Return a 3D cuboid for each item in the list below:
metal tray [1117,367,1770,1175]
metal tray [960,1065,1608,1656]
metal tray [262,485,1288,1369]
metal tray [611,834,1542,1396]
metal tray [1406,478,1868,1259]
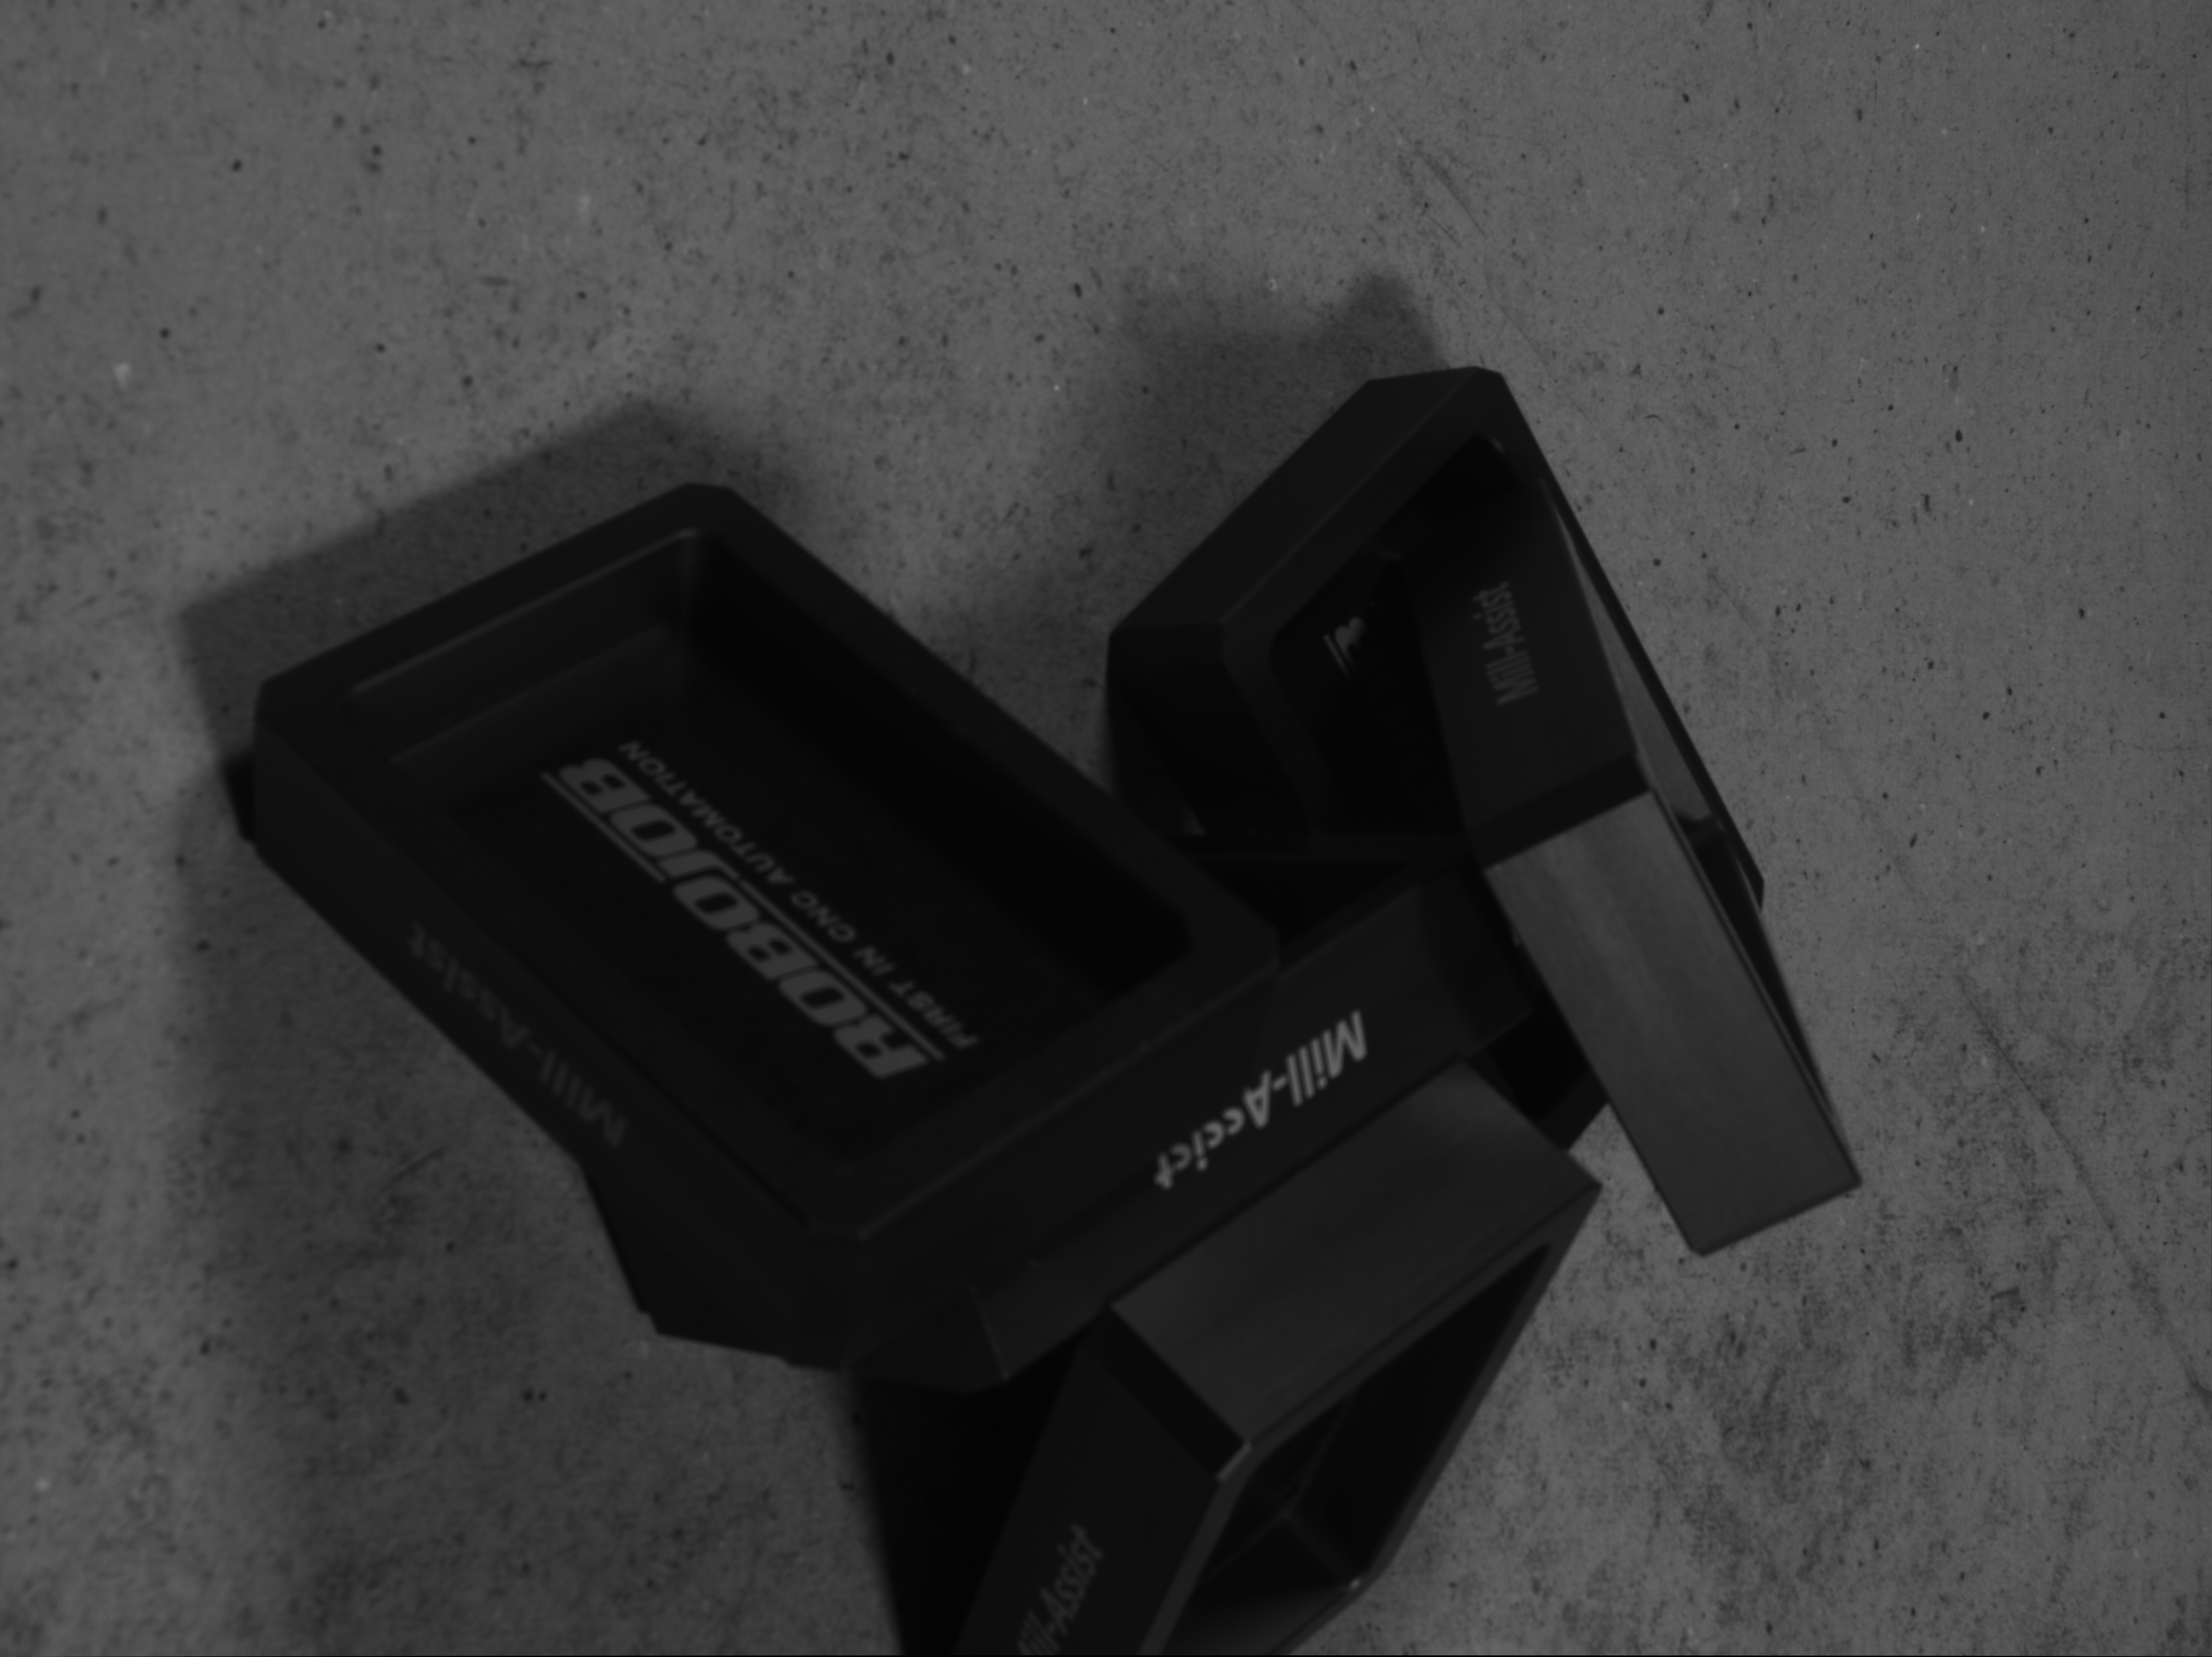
[{"bbox_3d":[0.067,-0.009,0.690,0.090,0.030,0.130,-46,117,-30],"label":"metal tray"},{"bbox_3d":[0.025,0.105,0.601,0.090,0.030,0.130,-30,154,-35],"label":"metal tray"},{"bbox_3d":[-0.050,0.009,0.535,0.090,0.130,0.030,-31,148,-36],"label":"metal tray"},{"bbox_3d":[-0.004,0.041,0.592,0.130,0.090,0.030,-31,109,-36],"label":"metal tray"},{"bbox_3d":[0.090,0.003,0.640,0.090,0.030,0.130,59,12,-23],"label":"metal tray"}]
